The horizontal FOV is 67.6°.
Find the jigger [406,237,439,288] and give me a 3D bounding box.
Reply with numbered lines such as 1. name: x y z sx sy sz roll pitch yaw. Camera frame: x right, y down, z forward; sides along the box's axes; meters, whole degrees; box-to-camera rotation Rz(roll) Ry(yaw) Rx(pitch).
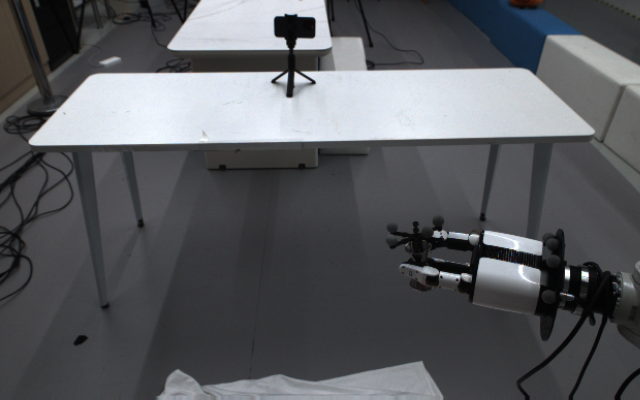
1. jigger: 0.155 0.098 0.744 0.043 0.071 0.043 -12 24 5
